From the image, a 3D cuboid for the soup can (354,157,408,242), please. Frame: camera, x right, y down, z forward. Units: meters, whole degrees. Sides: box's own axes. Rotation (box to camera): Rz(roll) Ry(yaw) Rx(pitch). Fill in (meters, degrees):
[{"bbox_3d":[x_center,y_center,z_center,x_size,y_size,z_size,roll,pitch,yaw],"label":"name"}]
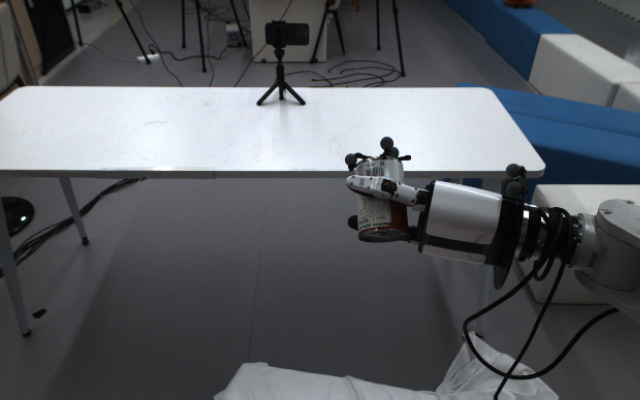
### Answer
[{"bbox_3d":[0.084,-0.001,0.649,0.067,0.067,0.101,-2,71,-5],"label":"soup can"}]
